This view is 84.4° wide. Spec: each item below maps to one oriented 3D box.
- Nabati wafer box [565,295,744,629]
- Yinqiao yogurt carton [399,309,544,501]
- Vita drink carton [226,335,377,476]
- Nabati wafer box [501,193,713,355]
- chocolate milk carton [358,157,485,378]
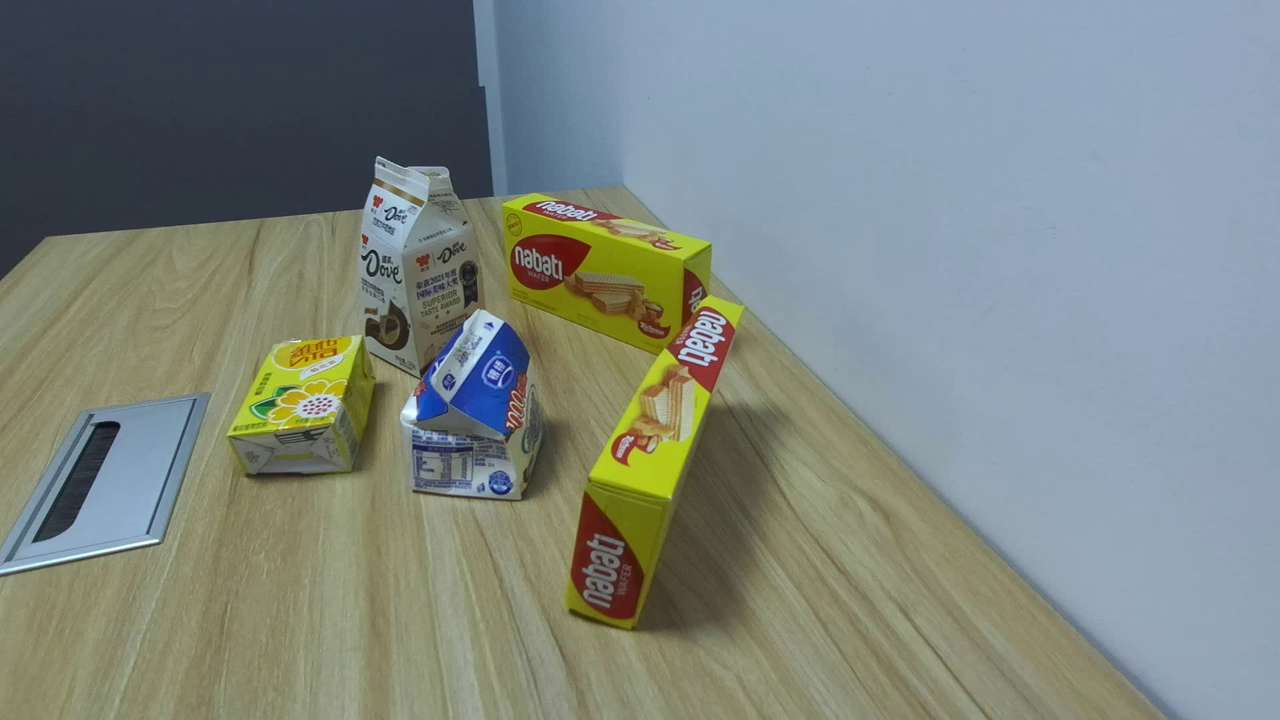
[{"bbox_3d":[0.014,0.044,0.410,0.042,0.096,0.203,16,34,9],"label":"Nabati wafer box"},{"bbox_3d":[-0.103,0.024,0.443,0.077,0.093,0.083,3,32,6],"label":"Yinqiao yogurt carton"},{"bbox_3d":[-0.228,0.030,0.478,0.076,0.043,0.108,-7,33,-7],"label":"Vita drink carton"},{"bbox_3d":[-0.033,-0.074,0.605,0.202,0.093,0.042,22,36,32],"label":"Nabati wafer box"},{"bbox_3d":[-0.174,-0.076,0.548,0.084,0.155,0.073,23,38,32],"label":"chocolate milk carton"}]
